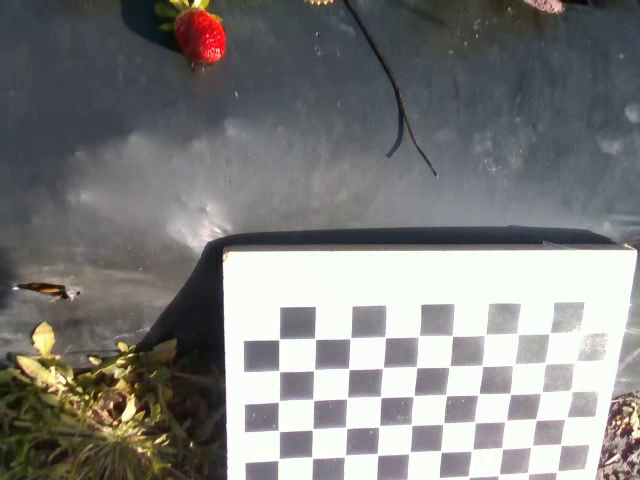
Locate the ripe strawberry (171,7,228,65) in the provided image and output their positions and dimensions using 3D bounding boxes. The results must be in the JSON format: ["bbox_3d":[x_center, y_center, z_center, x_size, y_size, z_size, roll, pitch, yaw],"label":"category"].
[{"bbox_3d":[-0.057,-0.101,0.292,0.028,0.041,0.031,-24,-39,0],"label":"ripe strawberry"}]
